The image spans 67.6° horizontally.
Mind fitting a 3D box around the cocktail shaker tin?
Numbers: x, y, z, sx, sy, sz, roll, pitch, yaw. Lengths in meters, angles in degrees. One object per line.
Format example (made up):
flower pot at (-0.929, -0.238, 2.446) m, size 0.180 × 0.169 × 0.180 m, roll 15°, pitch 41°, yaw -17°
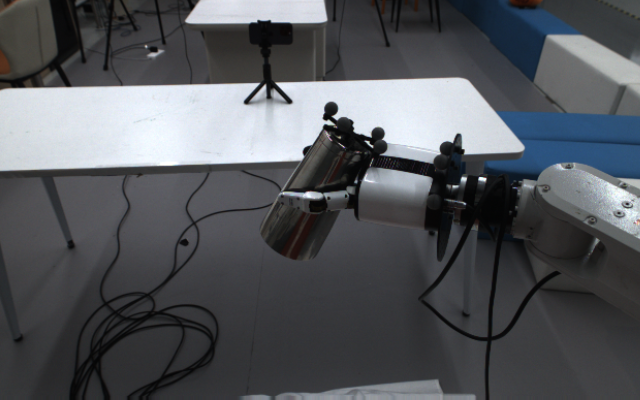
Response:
cocktail shaker tin at (-0.003, -0.015, 0.650) m, size 0.093 × 0.170 × 0.093 m, roll 25°, pitch 29°, yaw -15°
